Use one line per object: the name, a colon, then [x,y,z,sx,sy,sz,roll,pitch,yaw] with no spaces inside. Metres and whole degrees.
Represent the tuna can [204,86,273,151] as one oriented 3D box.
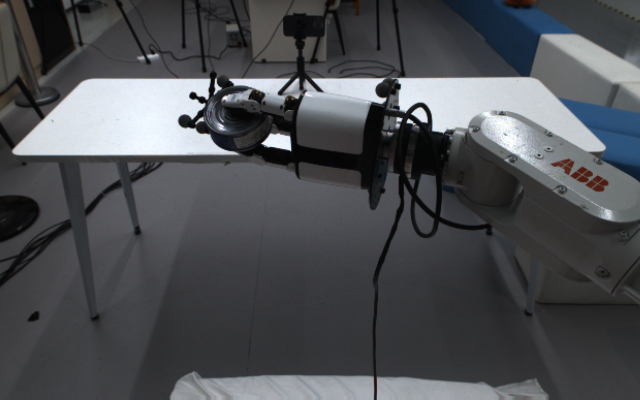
tuna can: [-0.103,-0.103,0.627,0.085,0.034,0.085,-1,62,2]
